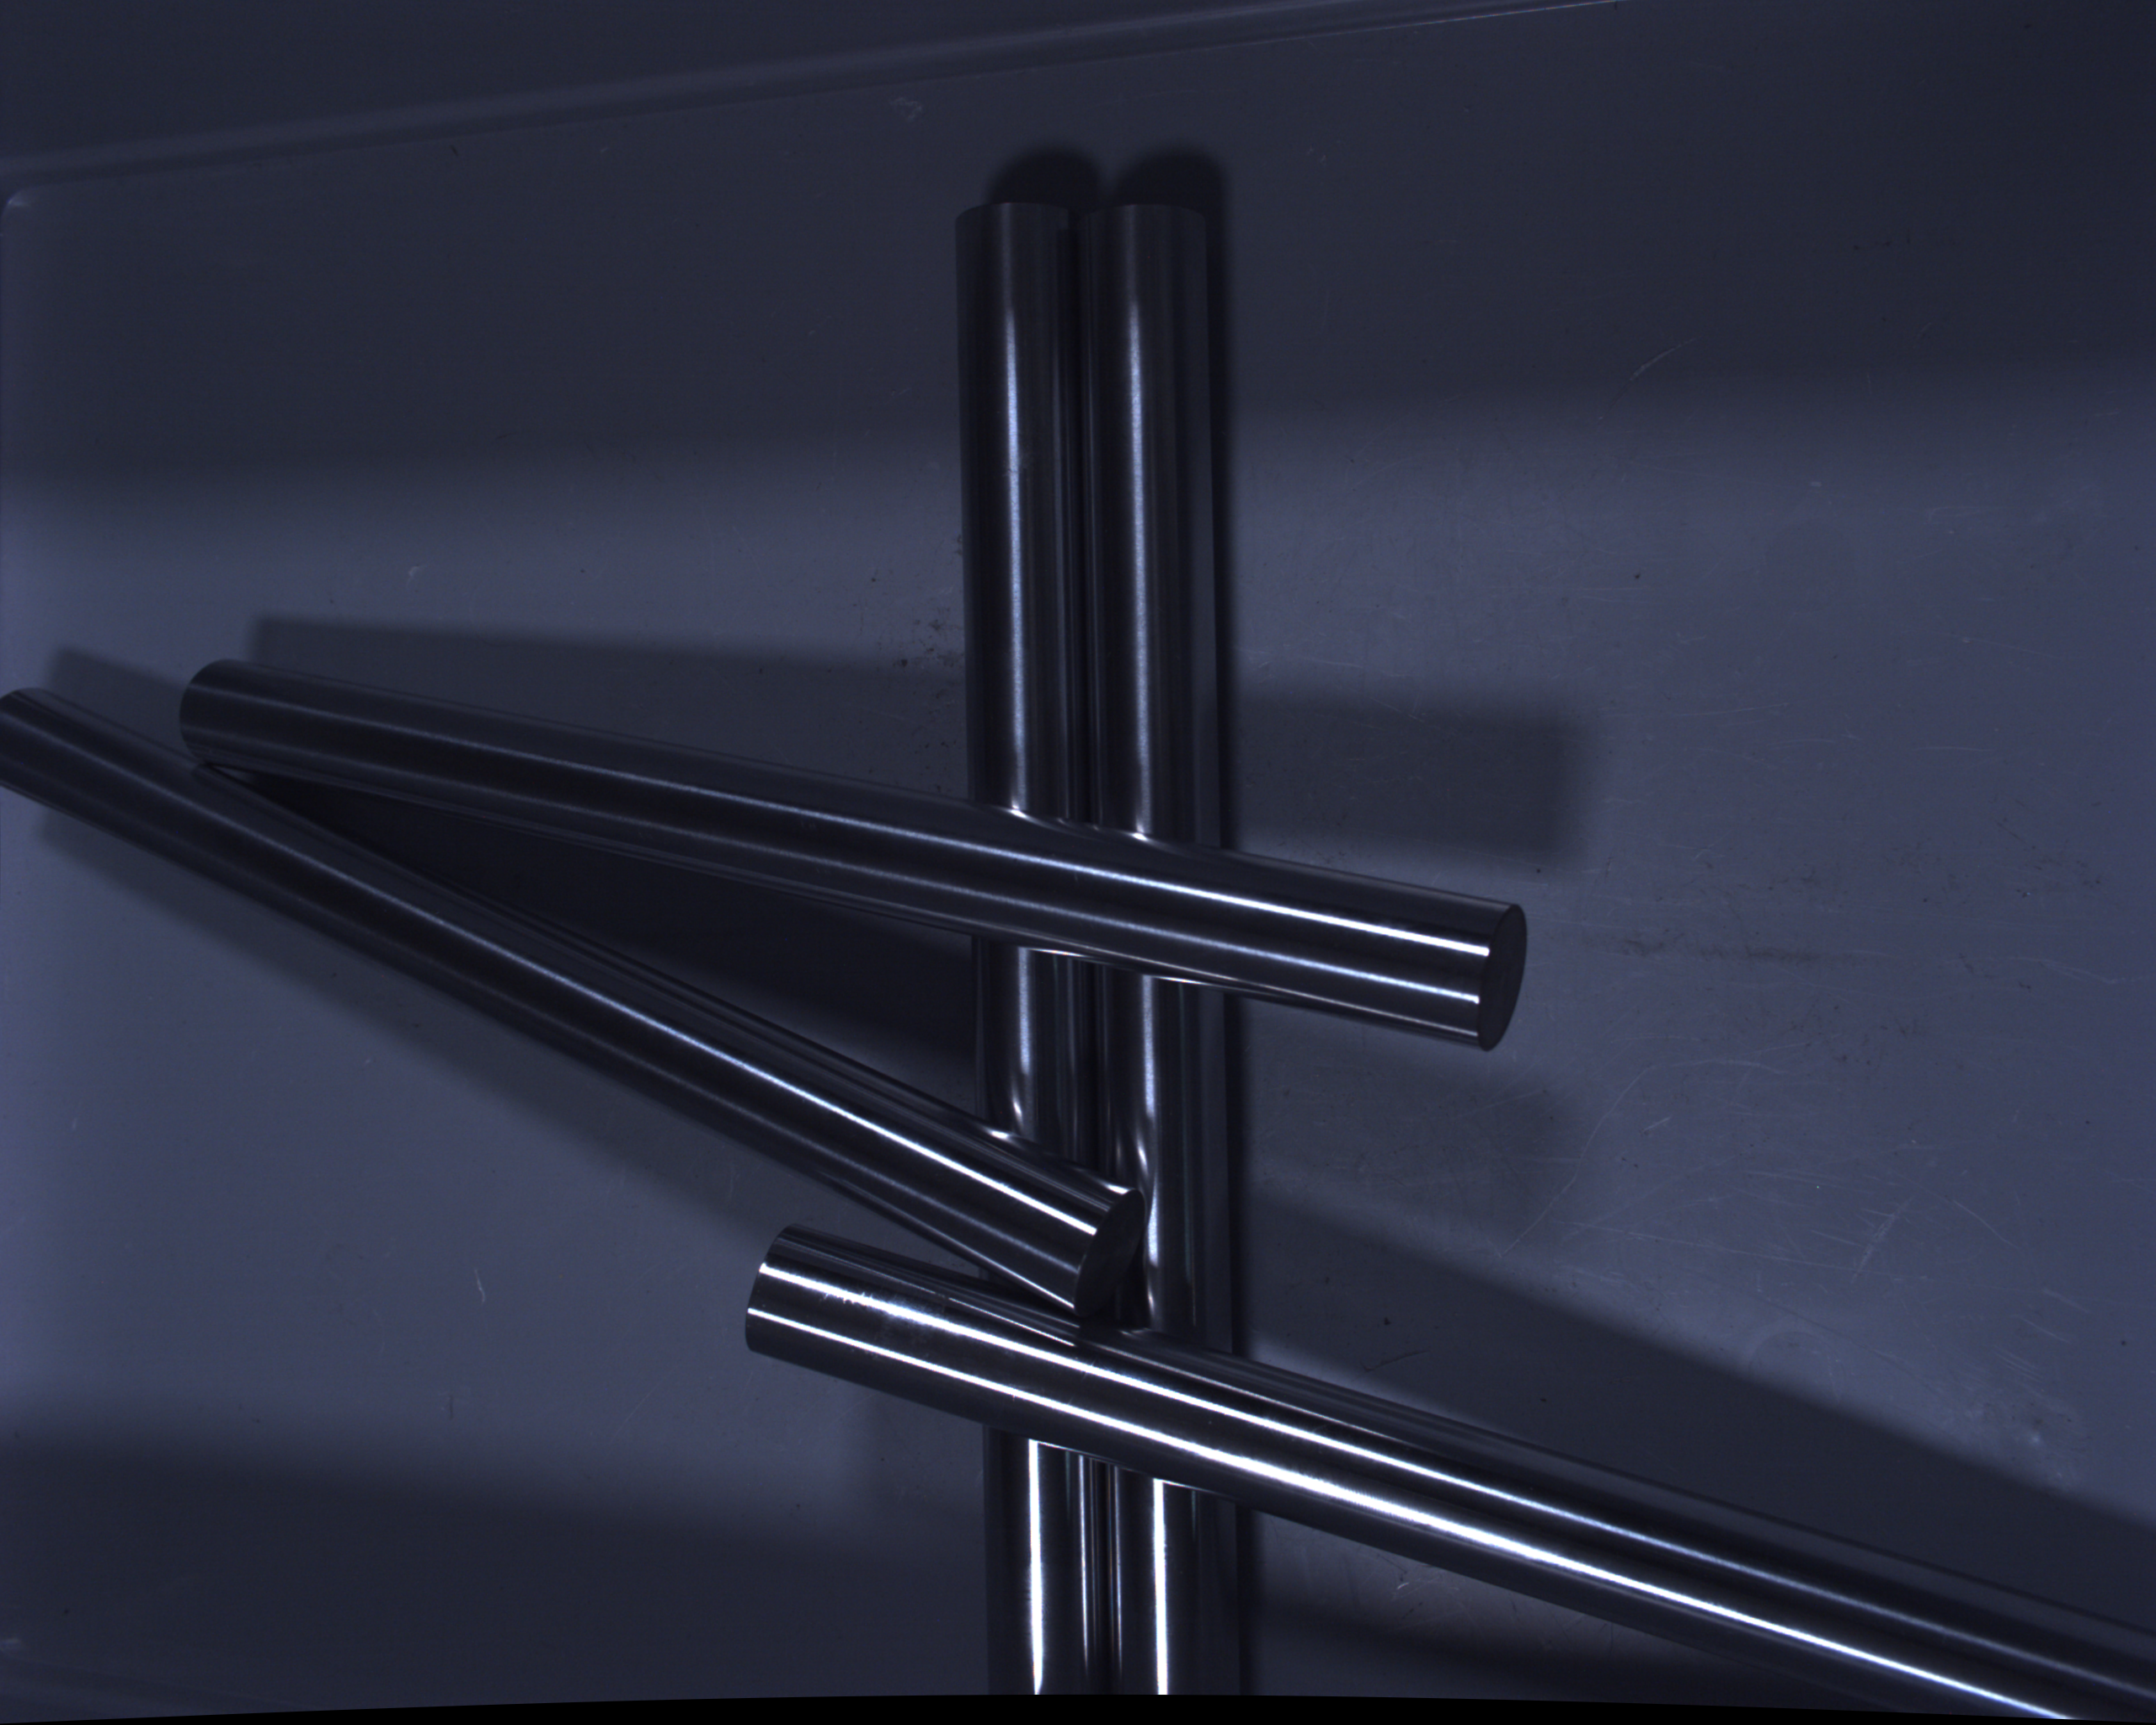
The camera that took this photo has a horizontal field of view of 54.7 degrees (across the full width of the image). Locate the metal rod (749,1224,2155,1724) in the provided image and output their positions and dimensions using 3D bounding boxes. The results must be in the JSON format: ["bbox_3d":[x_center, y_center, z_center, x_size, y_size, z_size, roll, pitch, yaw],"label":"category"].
[{"bbox_3d":[0.086,0.116,0.360,0.301,0.025,0.025,14,95,13],"label":"metal rod"}]

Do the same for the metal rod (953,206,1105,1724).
[{"bbox_3d":[-0.009,0.024,0.410,0.025,0.025,0.298,-1,90,19],"label":"metal rod"}]

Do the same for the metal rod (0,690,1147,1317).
[{"bbox_3d":[-0.122,0.021,0.437,0.301,0.025,0.025,21,97,23],"label":"metal rod"}]

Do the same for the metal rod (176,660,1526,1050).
[{"bbox_3d":[-0.063,-0.008,0.409,0.301,0.025,0.025,11,94,26],"label":"metal rod"}]

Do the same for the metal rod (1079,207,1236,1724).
[{"bbox_3d":[0.015,0.027,0.401,0.025,0.025,0.298,-1,90,19],"label":"metal rod"}]
